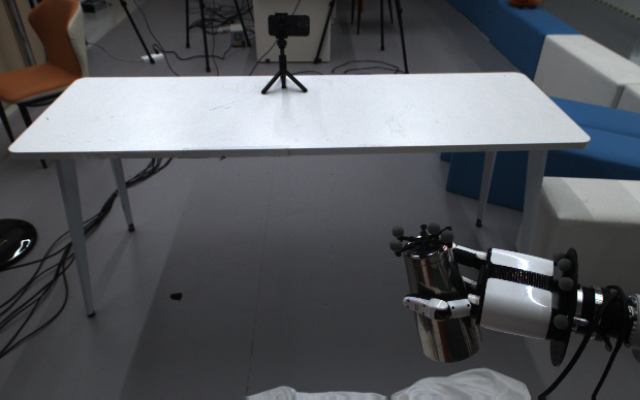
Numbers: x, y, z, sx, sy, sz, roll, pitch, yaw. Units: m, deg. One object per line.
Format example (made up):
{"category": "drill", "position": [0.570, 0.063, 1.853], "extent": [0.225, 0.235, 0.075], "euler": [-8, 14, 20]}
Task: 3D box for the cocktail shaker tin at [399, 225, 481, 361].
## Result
{"category": "cocktail shaker tin", "position": [0.172, 0.138, 0.702], "extent": [0.093, 0.170, 0.093], "euler": [-17, 20, 6]}
